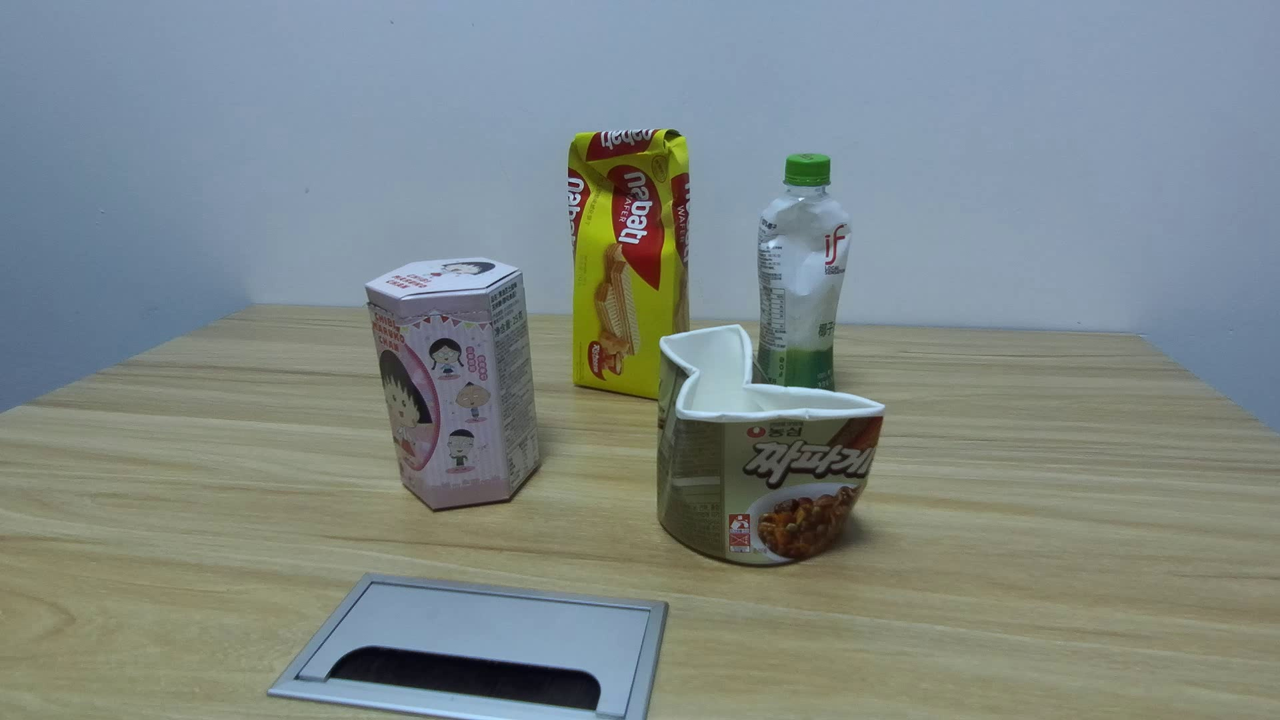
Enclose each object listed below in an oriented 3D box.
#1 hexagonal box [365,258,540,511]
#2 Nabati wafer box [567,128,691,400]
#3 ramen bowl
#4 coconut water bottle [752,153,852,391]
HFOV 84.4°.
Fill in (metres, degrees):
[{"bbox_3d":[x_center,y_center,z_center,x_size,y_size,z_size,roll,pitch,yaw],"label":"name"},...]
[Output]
[{"bbox_3d":[-0.113,0.014,0.439,0.084,0.136,0.091,-19,28,-39],"label":"hexagonal box"},{"bbox_3d":[-0.009,-0.073,0.555,0.113,0.205,0.043,8,21,25],"label":"Nabati wafer box"},{"bbox_3d":[0.064,0.044,0.408,0.111,0.093,0.128,-3,22,-4],"label":"ramen bowl"},{"bbox_3d":[0.119,-0.055,0.521,0.069,0.187,0.069,1,19,0],"label":"coconut water bottle"}]
